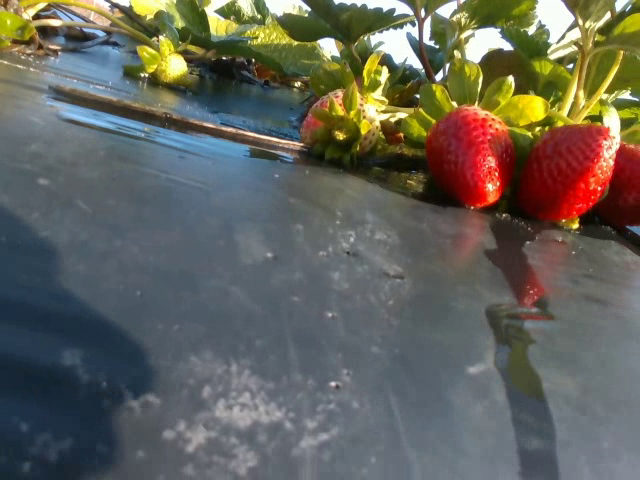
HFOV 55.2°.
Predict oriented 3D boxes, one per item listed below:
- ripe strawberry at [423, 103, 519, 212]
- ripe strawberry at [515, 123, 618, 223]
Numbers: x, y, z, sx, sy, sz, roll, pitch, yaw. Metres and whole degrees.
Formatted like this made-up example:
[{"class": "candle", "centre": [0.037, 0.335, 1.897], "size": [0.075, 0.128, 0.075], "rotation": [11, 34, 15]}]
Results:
[{"class": "ripe strawberry", "centre": [0.048, -0.026, 0.187], "size": [0.032, 0.023, 0.046], "rotation": [13, 38, -6]}, {"class": "ripe strawberry", "centre": [0.077, -0.025, 0.186], "size": [0.031, 0.037, 0.039], "rotation": [21, -12, 0]}]
